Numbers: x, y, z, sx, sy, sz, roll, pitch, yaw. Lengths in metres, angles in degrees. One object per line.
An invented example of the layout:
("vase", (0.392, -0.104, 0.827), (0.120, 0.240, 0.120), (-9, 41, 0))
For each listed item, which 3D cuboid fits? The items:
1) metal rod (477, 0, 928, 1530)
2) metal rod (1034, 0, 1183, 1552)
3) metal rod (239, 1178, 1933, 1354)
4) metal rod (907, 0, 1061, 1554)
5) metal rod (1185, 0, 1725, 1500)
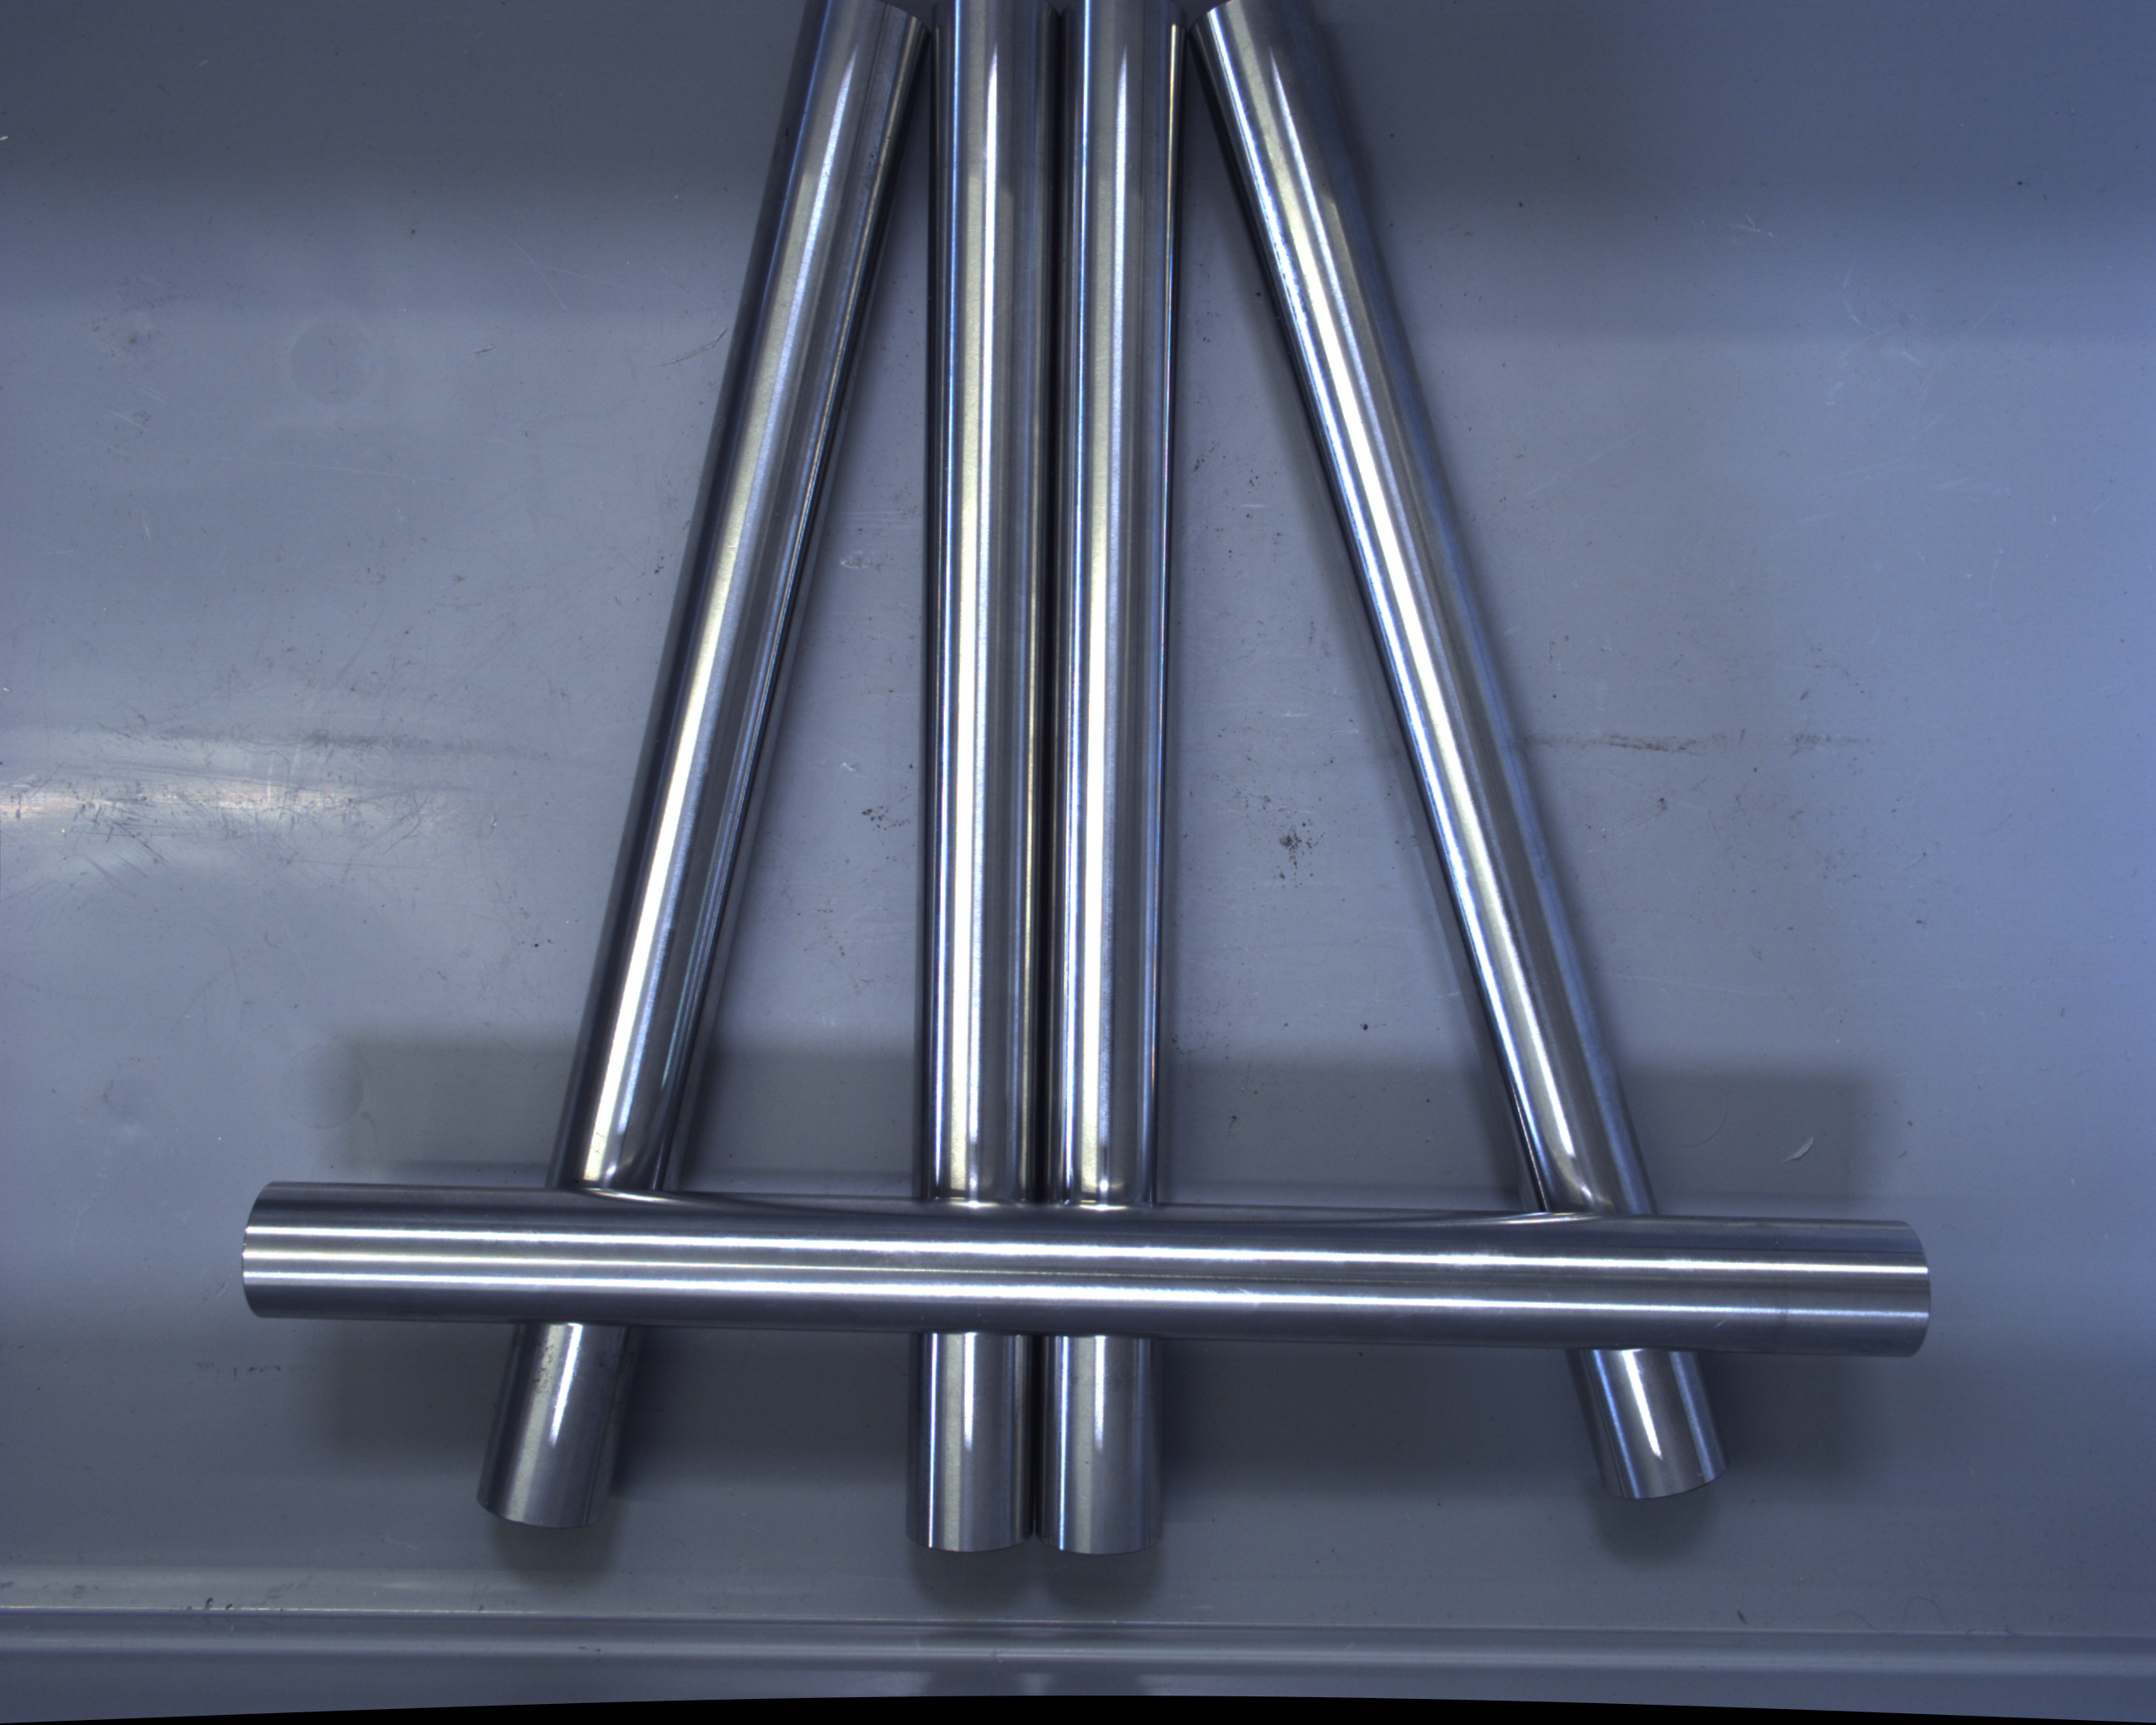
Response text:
("metal rod", (-0.073, -0.020, 0.410), (0.025, 0.025, 0.298), (12, 90, 0))
("metal rod", (0.006, -0.018, 0.410), (0.025, 0.025, 0.298), (1, 90, 0))
("metal rod", (0.002, 0.074, 0.384), (0.302, 0.025, 0.025), (1, 90, 0))
("metal rod", (-0.018, -0.017, 0.410), (0.025, 0.025, 0.298), (1, 90, 0))
("metal rod", (0.074, -0.023, 0.411), (0.025, 0.025, 0.298), (-16, 90, 0))
